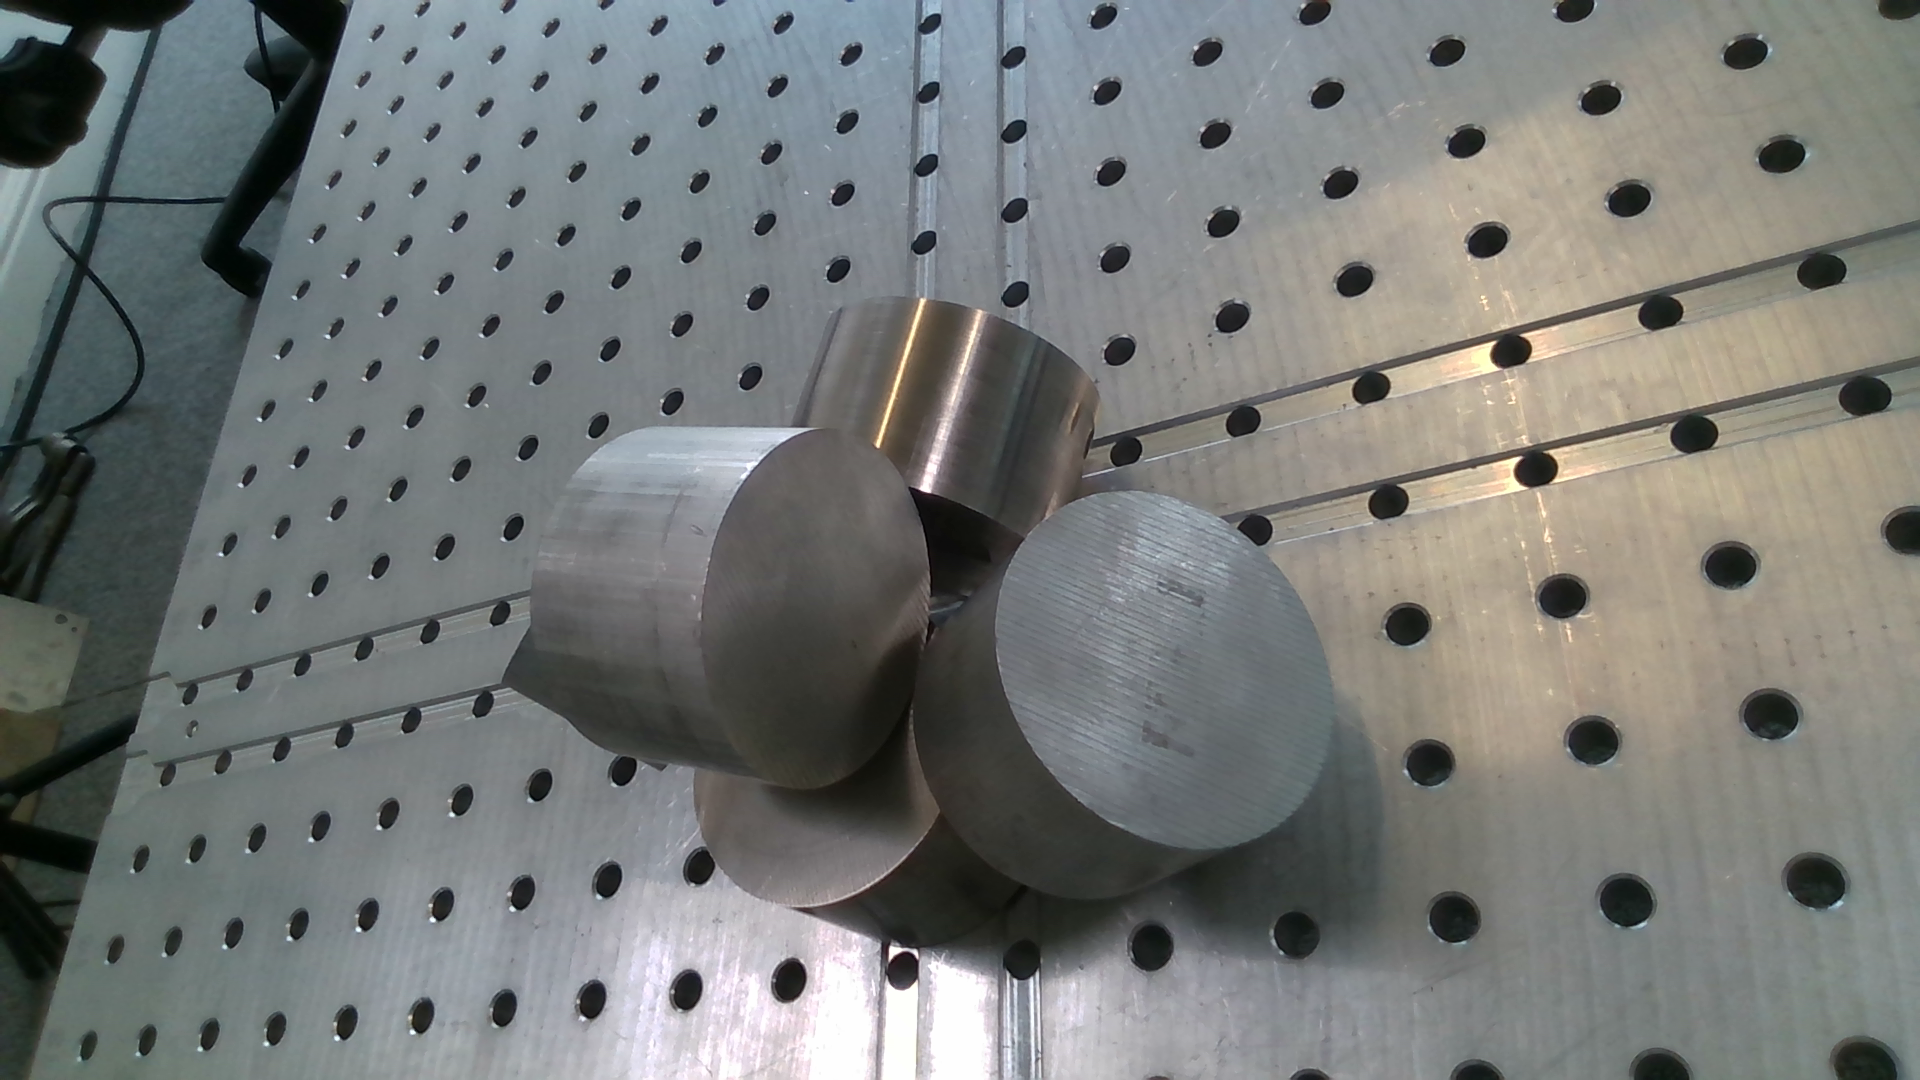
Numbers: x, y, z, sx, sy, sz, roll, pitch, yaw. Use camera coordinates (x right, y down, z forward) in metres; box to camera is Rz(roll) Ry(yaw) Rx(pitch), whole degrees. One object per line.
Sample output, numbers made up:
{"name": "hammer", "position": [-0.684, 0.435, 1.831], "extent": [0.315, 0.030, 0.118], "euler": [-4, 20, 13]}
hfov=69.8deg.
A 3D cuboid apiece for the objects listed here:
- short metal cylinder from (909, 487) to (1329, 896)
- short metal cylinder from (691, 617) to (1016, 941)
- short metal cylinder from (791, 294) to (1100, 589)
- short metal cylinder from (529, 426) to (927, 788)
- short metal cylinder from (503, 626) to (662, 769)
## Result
{"name": "short metal cylinder", "position": [0.035, 0.035, 0.311], "extent": [0.050, 0.080, 0.080], "euler": [132, 145, -56]}
{"name": "short metal cylinder", "position": [-0.023, 0.060, 0.361], "extent": [0.080, 0.050, 0.080], "euler": [-14, 59, 24]}
{"name": "short metal cylinder", "position": [-0.007, -0.024, 0.377], "extent": [0.080, 0.080, 0.050], "euler": [5, 68, 33]}
{"name": "short metal cylinder", "position": [-0.051, 0.014, 0.319], "extent": [0.050, 0.080, 0.080], "euler": [3, 68, 33]}
{"name": "short metal cylinder", "position": [-0.087, 0.018, 0.397], "extent": [0.080, 0.050, 0.080], "euler": [-56, 9, 14]}
